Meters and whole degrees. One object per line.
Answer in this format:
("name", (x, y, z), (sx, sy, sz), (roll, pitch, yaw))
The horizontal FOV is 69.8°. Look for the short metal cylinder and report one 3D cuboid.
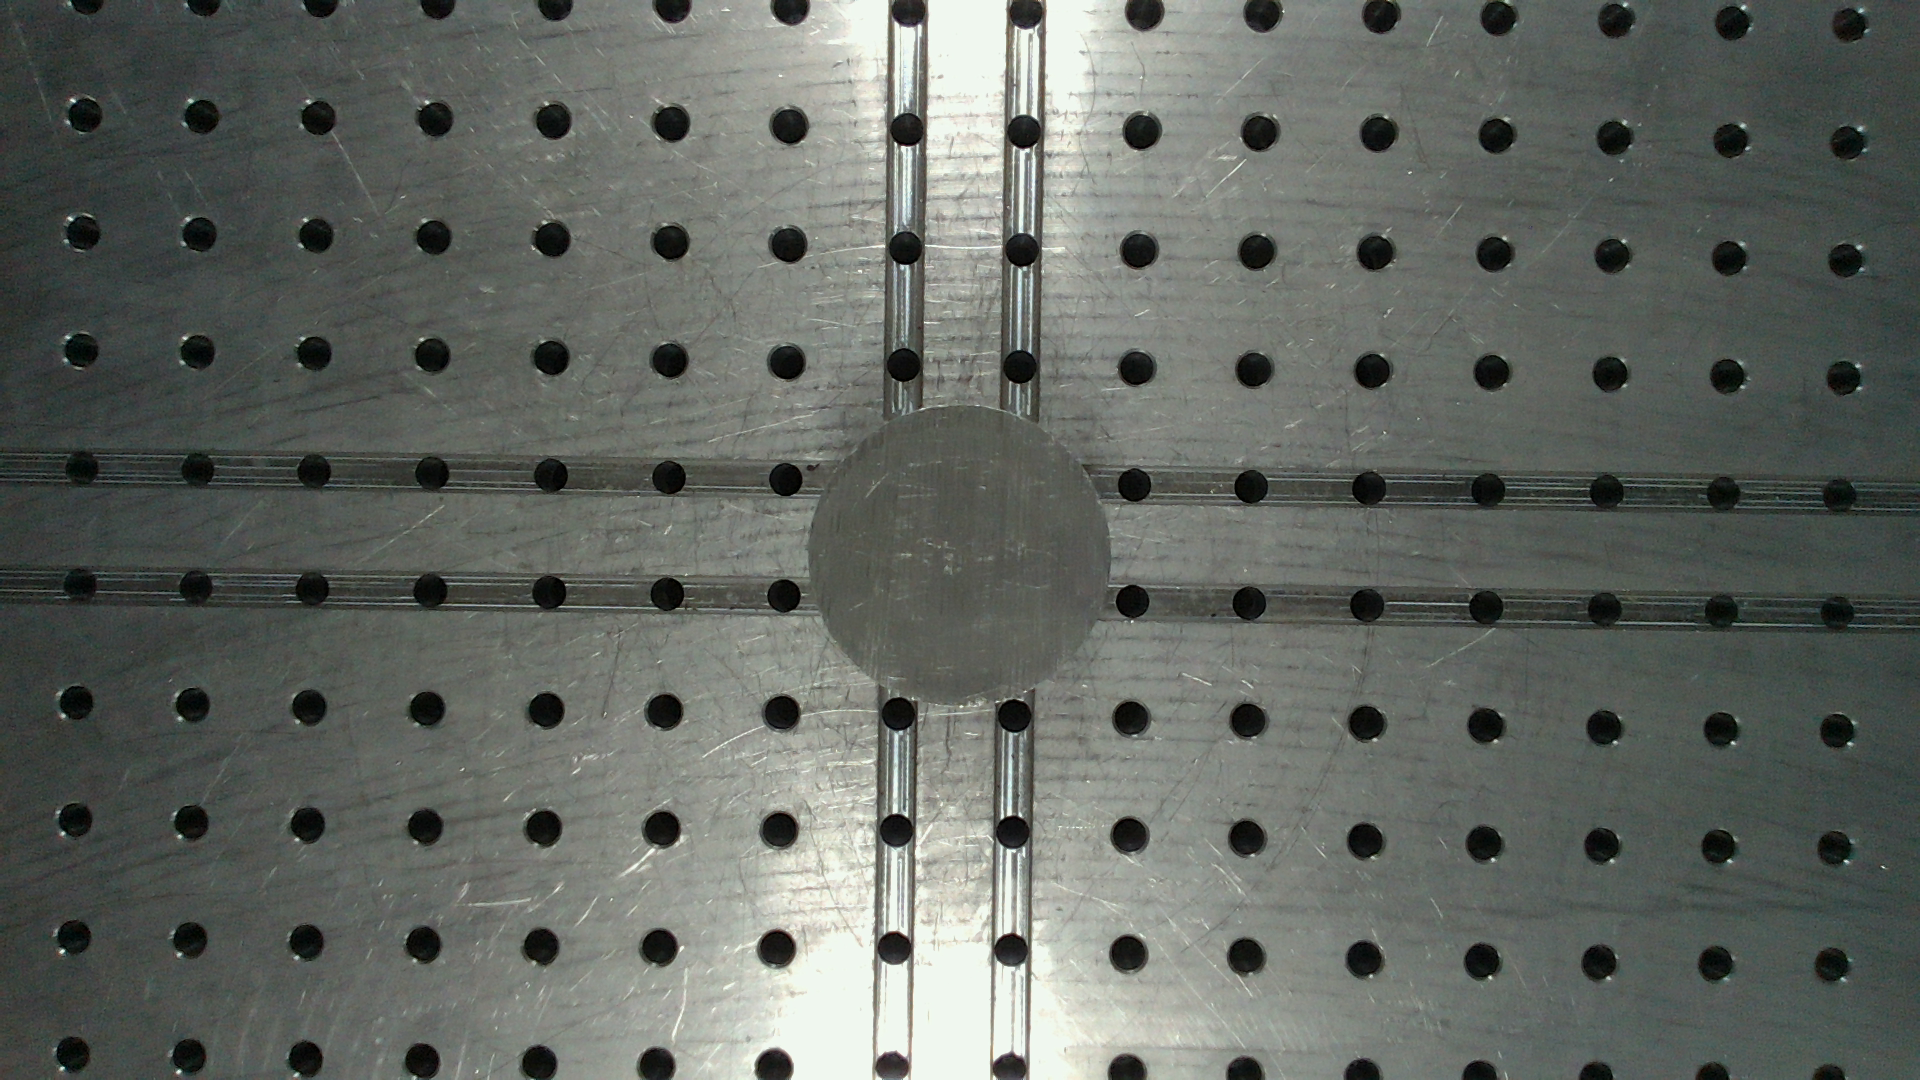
("short metal cylinder", (0.000, 0.004, 0.385), (0.080, 0.050, 0.080), (0, 90, 0))
